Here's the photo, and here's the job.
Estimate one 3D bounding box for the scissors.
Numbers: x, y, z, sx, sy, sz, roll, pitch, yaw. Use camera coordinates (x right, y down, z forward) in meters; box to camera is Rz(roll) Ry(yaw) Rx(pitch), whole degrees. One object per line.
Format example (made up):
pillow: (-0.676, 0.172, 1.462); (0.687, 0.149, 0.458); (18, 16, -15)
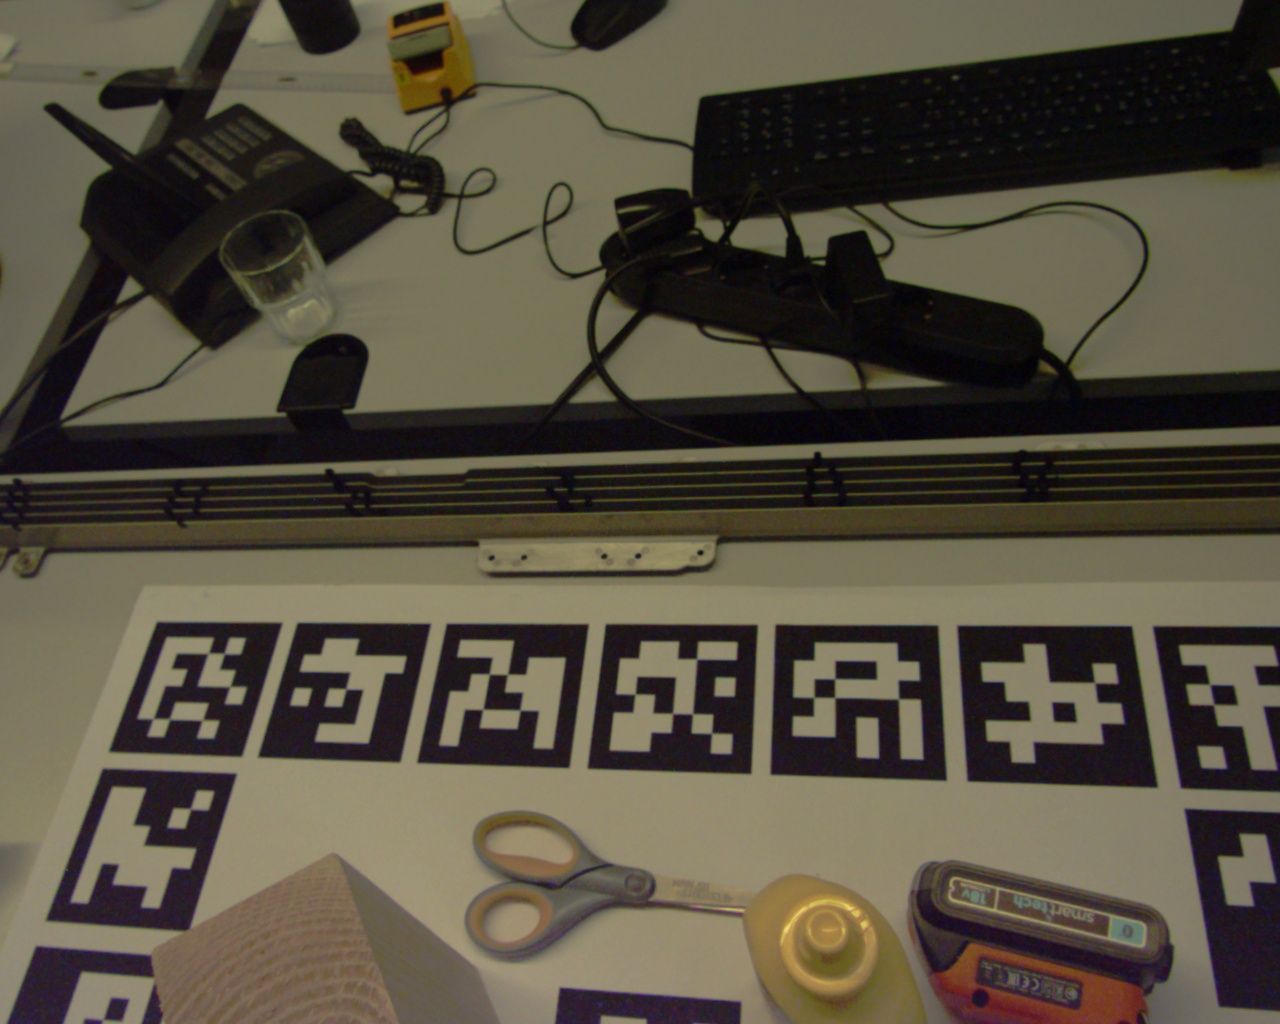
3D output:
scissors: (-0.026, 0.211, 0.676); (0.204, 0.016, 0.088); (-1, 53, 13)

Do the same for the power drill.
power drill: (0.147, 0.286, 0.559); (0.186, 0.057, 0.187); (9, 66, 19)

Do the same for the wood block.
wood block: (-0.126, 0.252, 0.570); (0.091, 0.204, 0.091); (-26, 56, -5)

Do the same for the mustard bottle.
mustard bottle: (0.093, 0.214, 0.550); (0.058, 0.190, 0.097); (-37, 58, -11)
